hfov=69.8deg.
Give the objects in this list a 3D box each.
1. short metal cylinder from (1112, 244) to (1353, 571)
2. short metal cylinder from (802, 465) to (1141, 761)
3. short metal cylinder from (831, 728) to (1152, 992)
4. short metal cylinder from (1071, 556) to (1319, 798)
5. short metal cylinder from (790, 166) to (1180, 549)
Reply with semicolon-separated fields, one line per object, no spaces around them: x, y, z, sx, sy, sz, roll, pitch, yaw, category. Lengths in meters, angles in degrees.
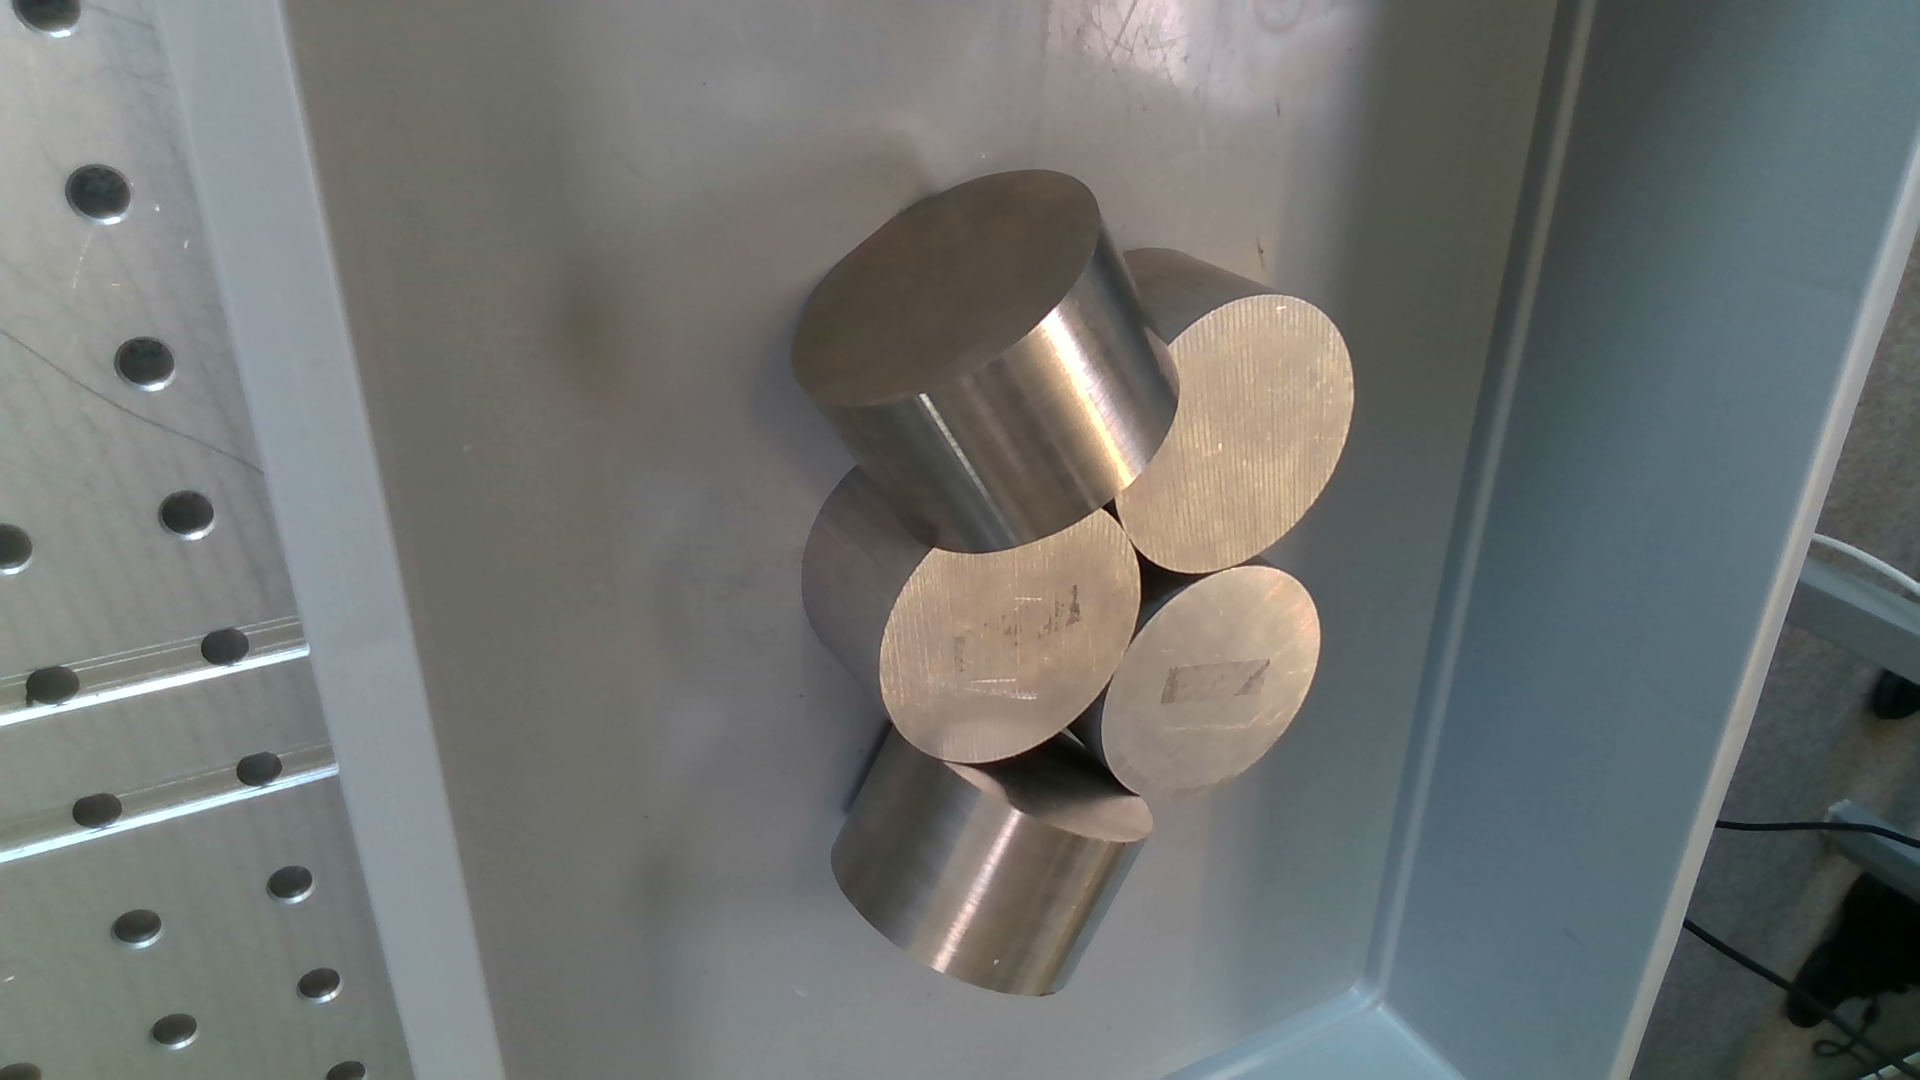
0.063;-0.038;0.391;0.080;0.050;0.080;-14;122;-25;short metal cylinder
0.003;0.014;0.381;0.080;0.050;0.080;-14;122;-25;short metal cylinder
0.009;0.086;0.405;0.080;0.080;0.050;17;105;-37;short metal cylinder
0.064;0.033;0.429;0.080;0.050;0.080;-14;122;-25;short metal cylinder
0.006;-0.044;0.333;0.080;0.080;0.050;-40;129;-7;short metal cylinder
